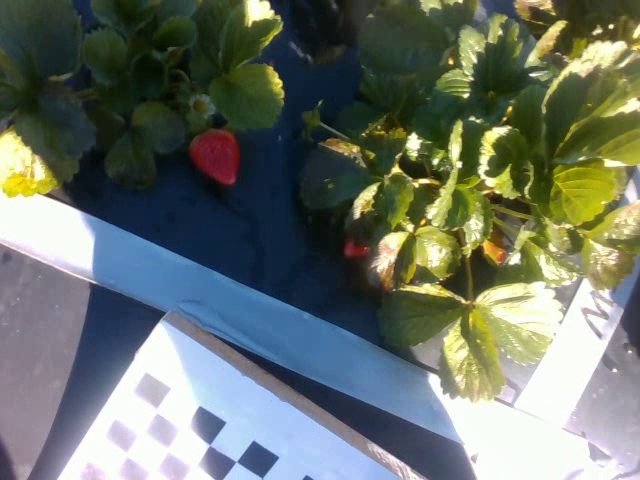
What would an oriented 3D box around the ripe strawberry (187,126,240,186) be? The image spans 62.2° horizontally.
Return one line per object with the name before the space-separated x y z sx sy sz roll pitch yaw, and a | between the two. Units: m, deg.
ripe strawberry | -0.083 -0.069 0.442 0.045 0.058 0.042 -26 -7 17
